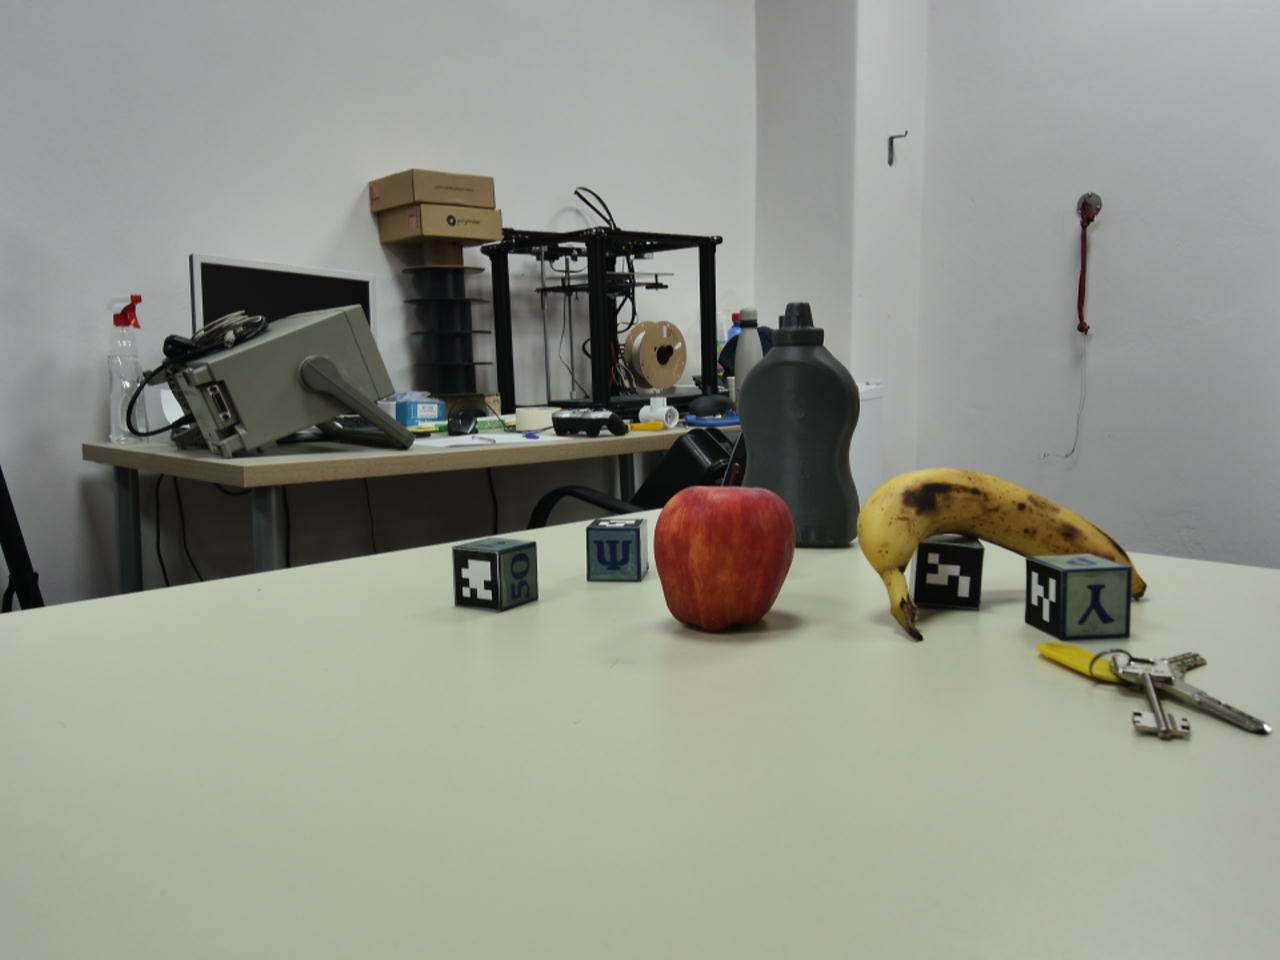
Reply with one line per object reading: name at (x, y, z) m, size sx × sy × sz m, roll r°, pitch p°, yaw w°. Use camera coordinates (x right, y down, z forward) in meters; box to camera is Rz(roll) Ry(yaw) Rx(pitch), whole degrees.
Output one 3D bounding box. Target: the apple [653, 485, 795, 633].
apple at (0.049, 0.035, 0.567) m, size 0.083 × 0.090 × 0.083 m, roll 1°, pitch 5°, yaw 0°
